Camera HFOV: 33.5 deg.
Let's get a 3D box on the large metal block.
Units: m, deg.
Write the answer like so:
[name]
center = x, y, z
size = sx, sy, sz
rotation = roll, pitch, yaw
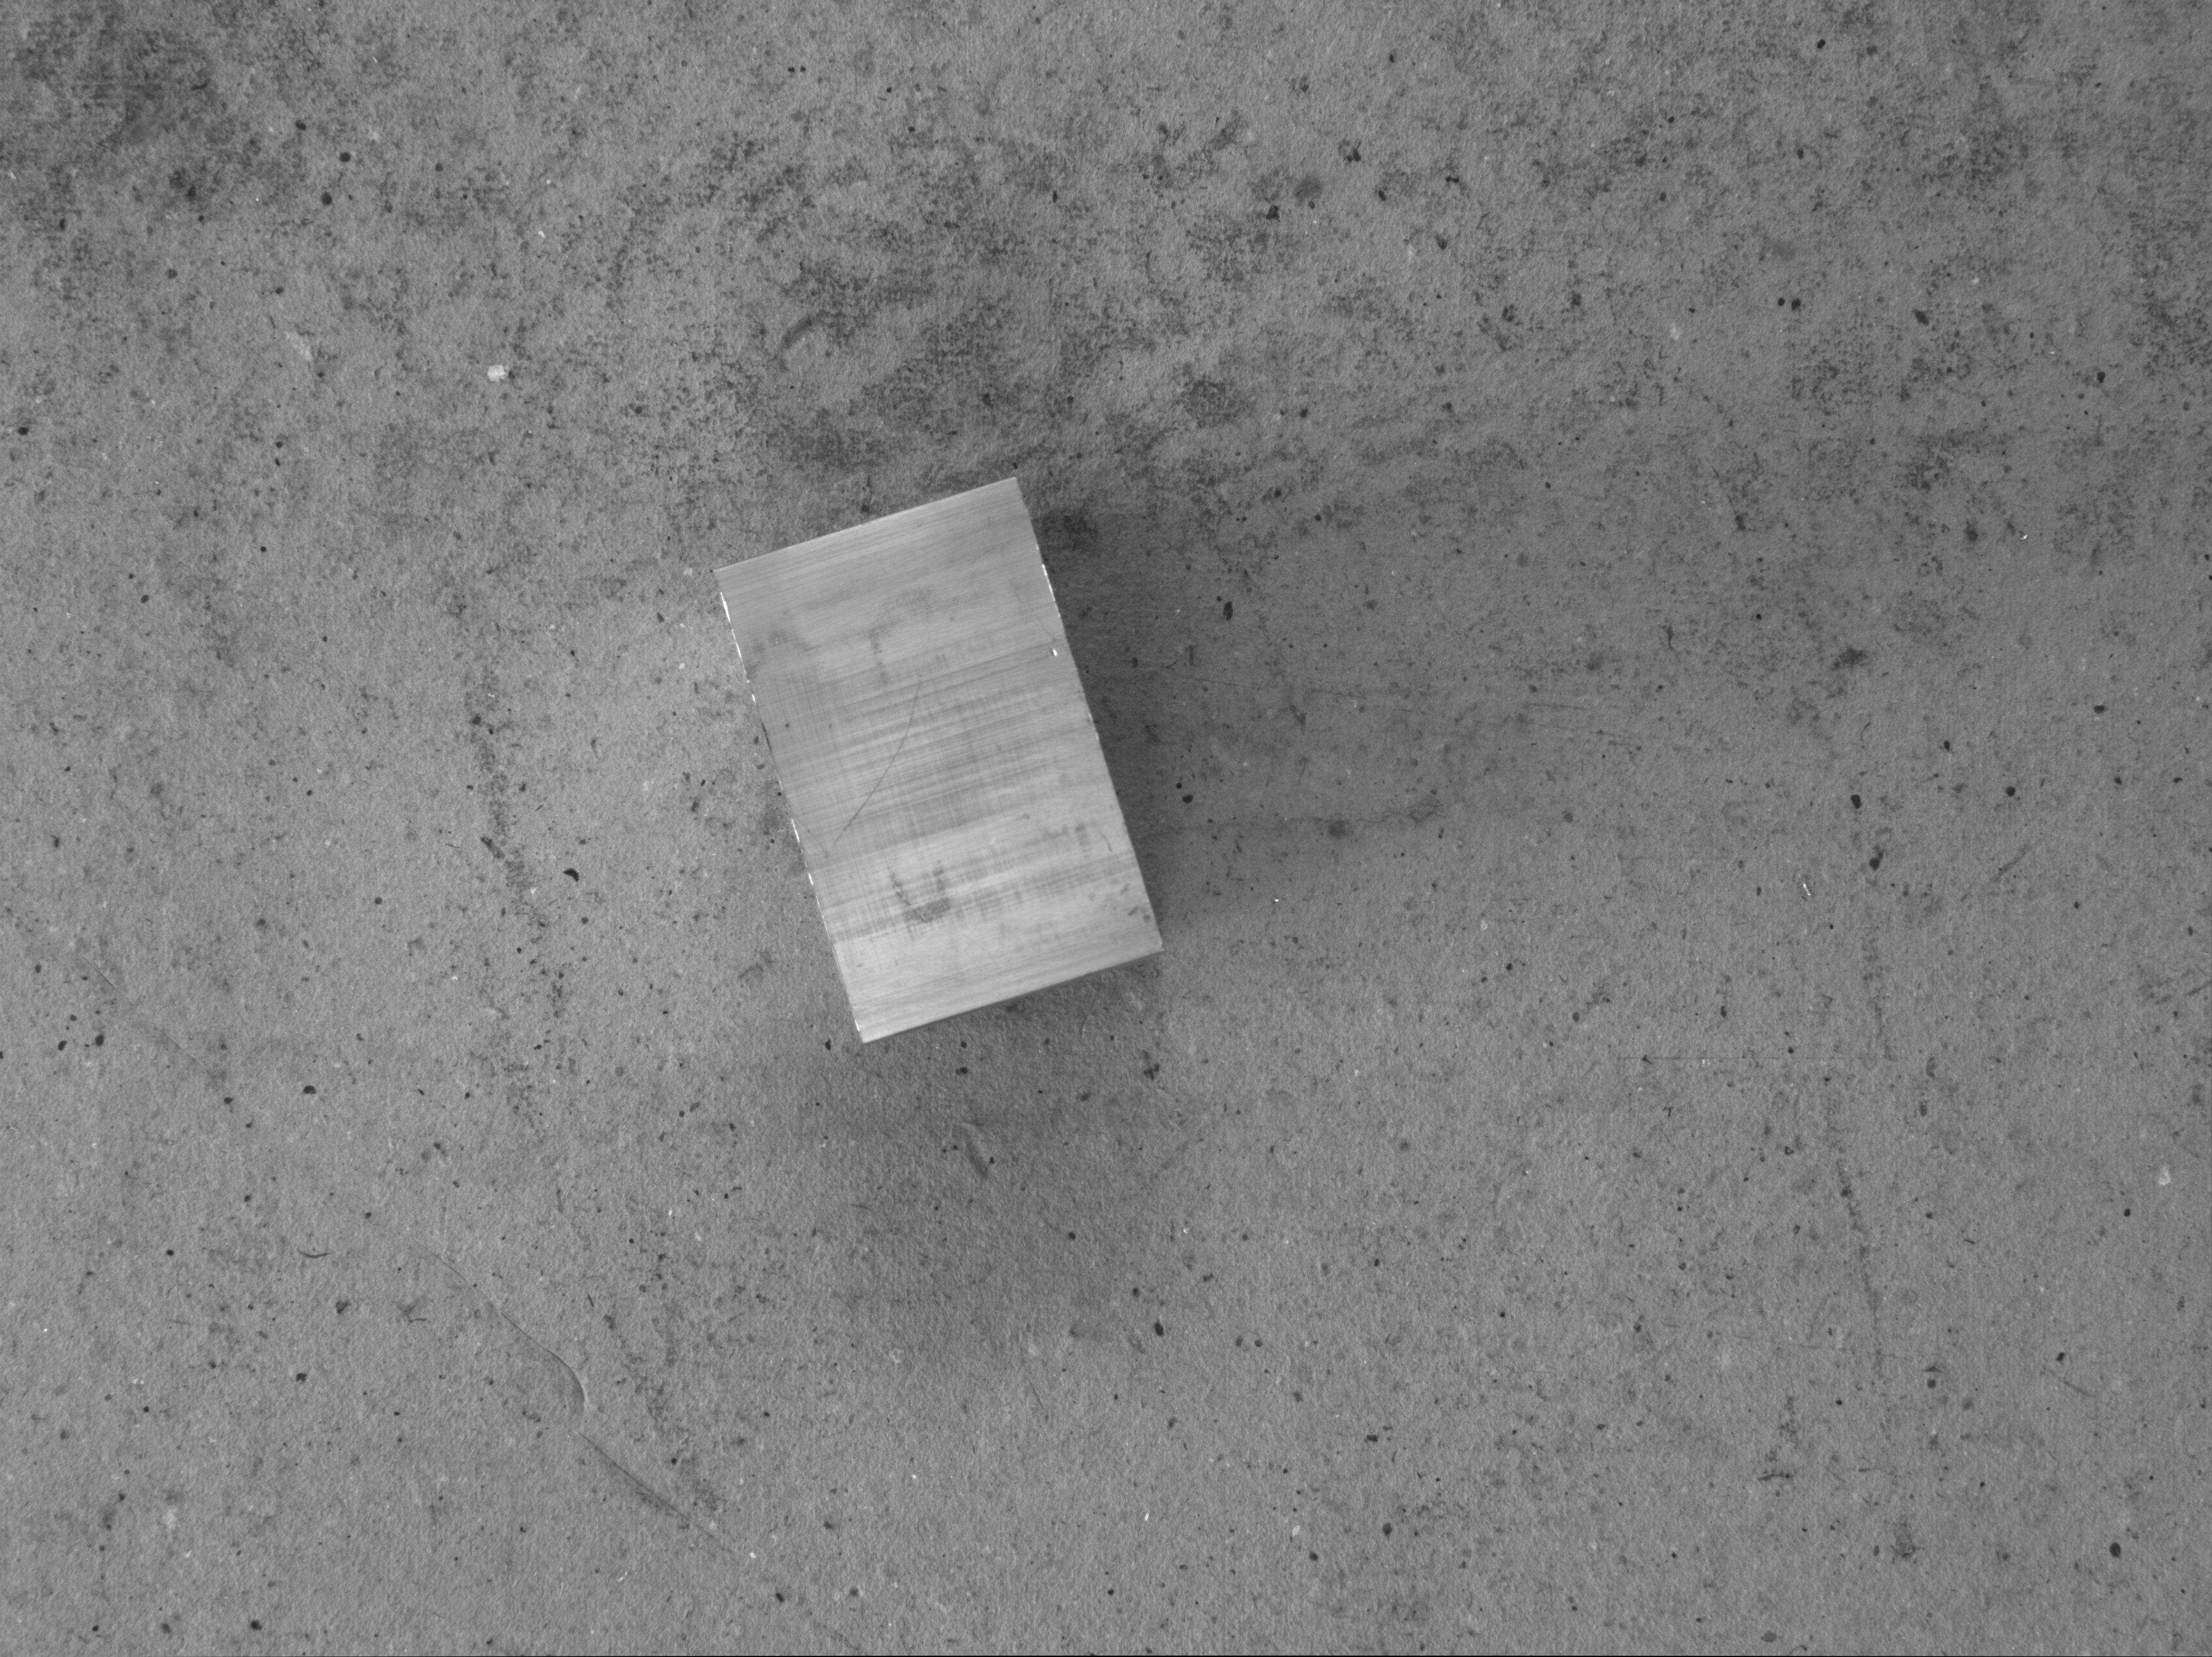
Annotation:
[large metal block]
center = -0.026, -0.010, 0.618
size = 0.050, 0.080, 0.080
rotation = -17, 90, 0
